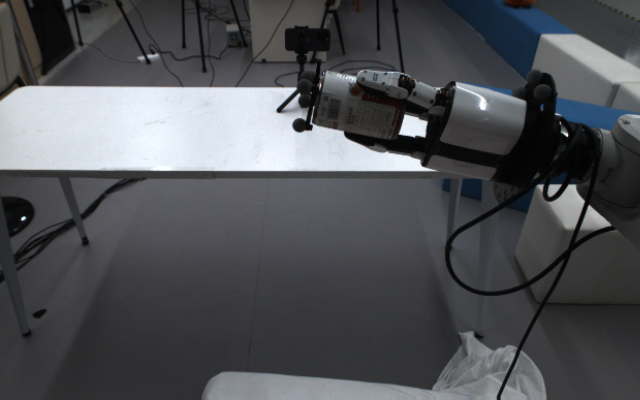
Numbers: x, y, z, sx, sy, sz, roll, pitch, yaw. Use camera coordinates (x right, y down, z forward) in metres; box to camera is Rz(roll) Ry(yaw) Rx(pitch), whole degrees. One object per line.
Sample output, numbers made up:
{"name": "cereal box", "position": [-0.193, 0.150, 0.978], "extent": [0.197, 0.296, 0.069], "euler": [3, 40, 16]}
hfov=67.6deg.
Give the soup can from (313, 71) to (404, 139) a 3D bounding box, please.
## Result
{"name": "soup can", "position": [0.048, -0.113, 0.580], "extent": [0.101, 0.067, 0.067], "euler": [11, 35, -1]}
